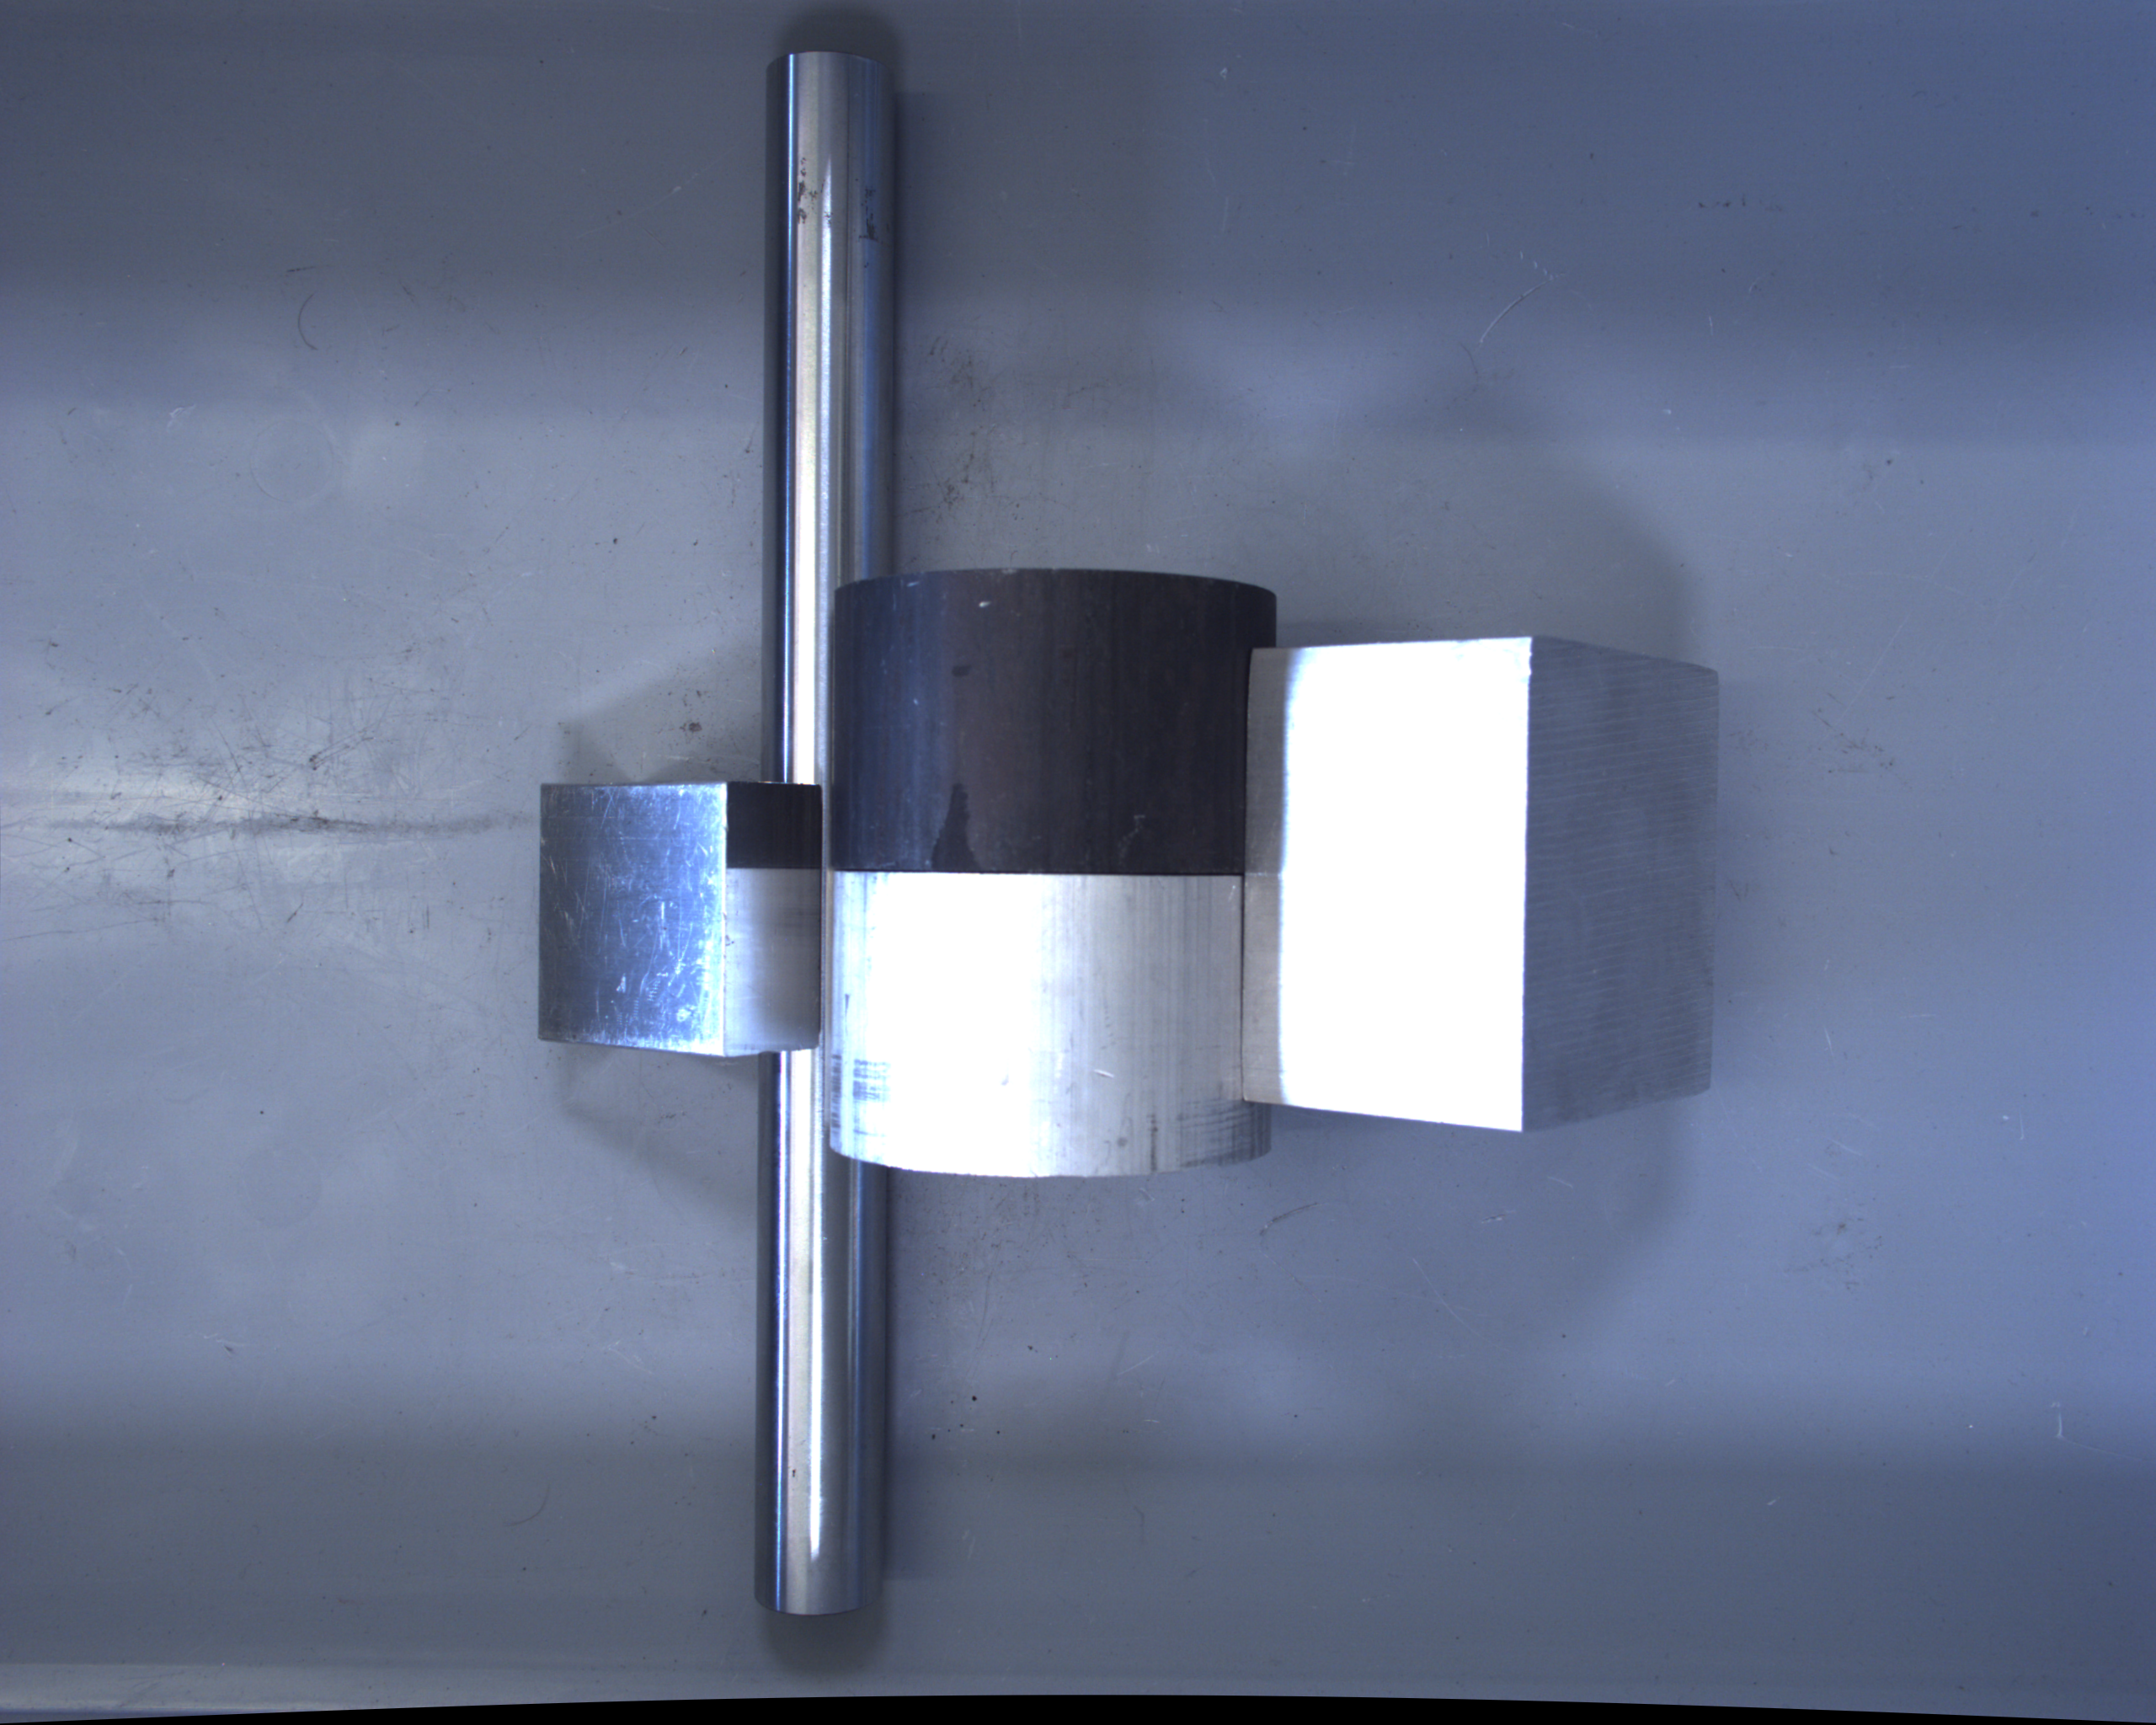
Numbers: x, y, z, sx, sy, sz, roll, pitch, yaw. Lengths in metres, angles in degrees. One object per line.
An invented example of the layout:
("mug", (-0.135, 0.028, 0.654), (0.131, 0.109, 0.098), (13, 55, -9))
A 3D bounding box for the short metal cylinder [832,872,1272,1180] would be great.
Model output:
("short metal cylinder", (-0.004, 0.027, 0.382), (0.081, 0.080, 0.050), (1, 90, 0))

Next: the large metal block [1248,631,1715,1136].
("large metal block", (0.075, 0.003, 0.375), (0.050, 0.081, 0.079), (1, 91, 38))

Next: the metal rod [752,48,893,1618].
("metal rod", (-0.050, -0.006, 0.408), (0.025, 0.025, 0.298), (0, 90, 0))

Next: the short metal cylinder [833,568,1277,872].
("short metal cylinder", (-0.004, -0.024, 0.382), (0.081, 0.080, 0.050), (1, 90, 0))

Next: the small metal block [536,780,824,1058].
("small metal block", (-0.076, 0.010, 0.398), (0.050, 0.025, 0.050), (0, 89, 34))
